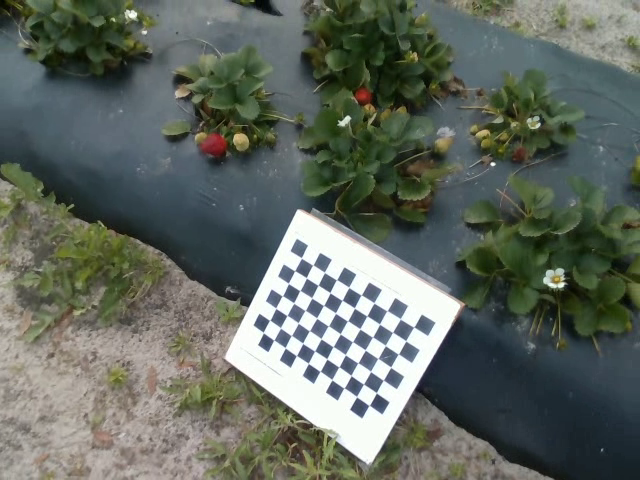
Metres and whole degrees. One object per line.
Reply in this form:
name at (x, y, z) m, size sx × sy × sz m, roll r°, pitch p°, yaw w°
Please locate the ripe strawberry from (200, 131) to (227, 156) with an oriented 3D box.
ripe strawberry at (-0.199, -0.166, 1.172) m, size 0.046 × 0.046 × 0.059 m, roll 25°, pitch 31°, yaw 23°
